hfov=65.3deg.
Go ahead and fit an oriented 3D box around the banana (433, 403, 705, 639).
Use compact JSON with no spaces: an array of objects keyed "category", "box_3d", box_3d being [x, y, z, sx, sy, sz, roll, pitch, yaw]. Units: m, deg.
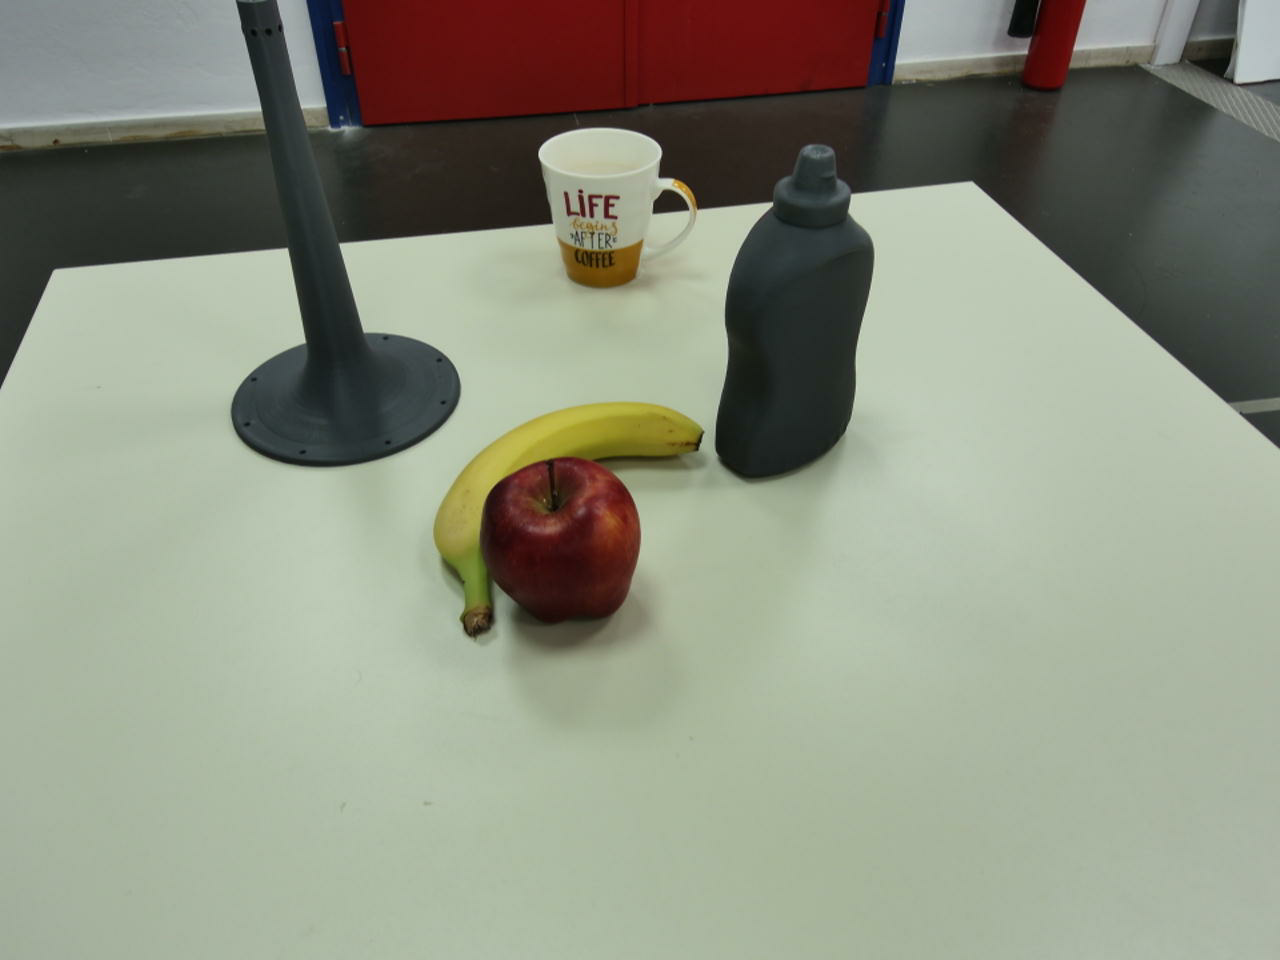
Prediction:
[{"category":"banana","box_3d":[-0.055,0.002,0.588,0.094,0.041,0.196,30,47,31]}]
